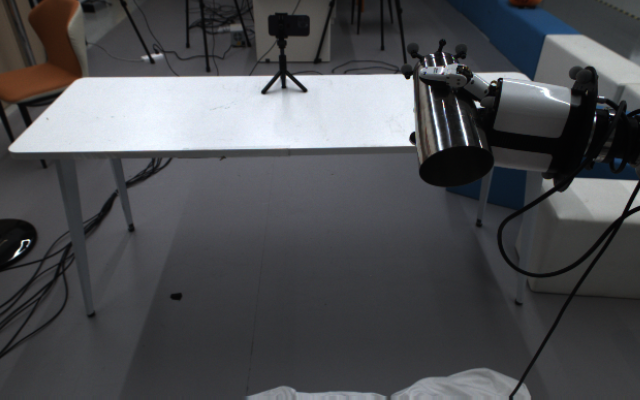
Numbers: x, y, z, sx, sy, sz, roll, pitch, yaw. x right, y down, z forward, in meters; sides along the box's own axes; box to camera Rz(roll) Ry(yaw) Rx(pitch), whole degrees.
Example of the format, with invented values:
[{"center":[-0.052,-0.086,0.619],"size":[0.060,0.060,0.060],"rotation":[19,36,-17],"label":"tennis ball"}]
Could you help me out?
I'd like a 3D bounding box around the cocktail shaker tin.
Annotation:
[{"center":[0.167,-0.114,0.641],"size":[0.093,0.093,0.170],"rotation":[0,59,-3],"label":"cocktail shaker tin"}]
